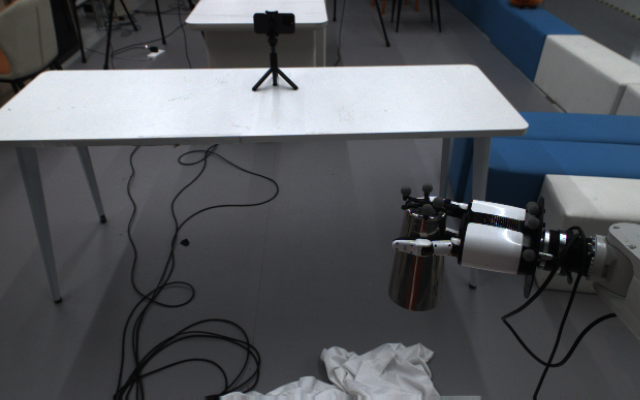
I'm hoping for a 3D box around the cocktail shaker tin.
[{"bbox_3d":[0.170,0.085,0.816,0.093,0.170,0.093,1,27,-1],"label":"cocktail shaker tin"}]
